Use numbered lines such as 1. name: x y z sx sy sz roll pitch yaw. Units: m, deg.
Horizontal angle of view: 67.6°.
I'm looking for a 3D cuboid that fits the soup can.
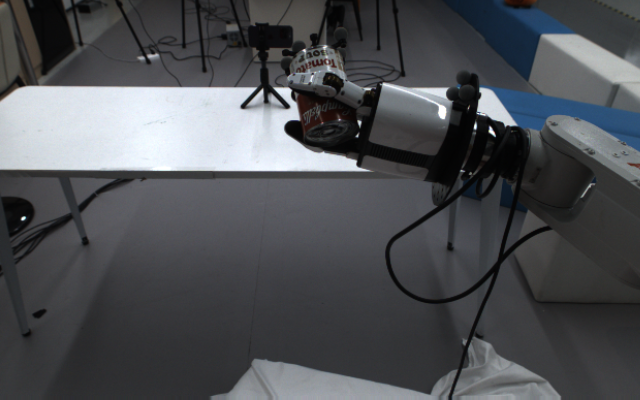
1. soup can: 0.005 -0.124 0.583 0.067 0.067 0.101 -8 74 -14
